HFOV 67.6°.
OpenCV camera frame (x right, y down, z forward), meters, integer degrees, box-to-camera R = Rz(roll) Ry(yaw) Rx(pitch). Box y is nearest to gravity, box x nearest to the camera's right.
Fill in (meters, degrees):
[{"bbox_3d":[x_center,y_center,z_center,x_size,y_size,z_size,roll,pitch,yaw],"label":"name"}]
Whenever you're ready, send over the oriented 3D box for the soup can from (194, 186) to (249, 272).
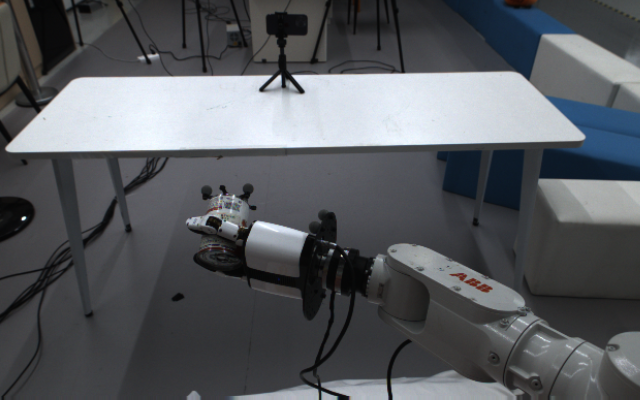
[{"bbox_3d":[-0.148,0.050,0.744,0.067,0.067,0.101,3,56,1],"label":"soup can"}]
